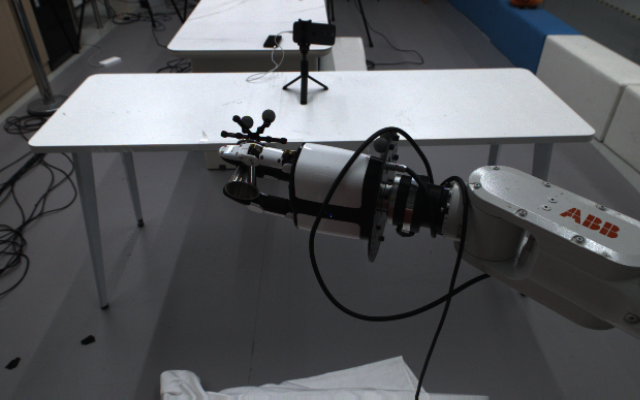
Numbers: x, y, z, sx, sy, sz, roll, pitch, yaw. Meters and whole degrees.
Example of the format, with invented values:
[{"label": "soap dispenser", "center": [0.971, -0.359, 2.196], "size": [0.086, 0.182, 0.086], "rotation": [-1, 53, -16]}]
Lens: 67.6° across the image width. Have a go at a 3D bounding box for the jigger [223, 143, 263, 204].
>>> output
[{"label": "jigger", "center": [-0.098, -0.041, 0.625], "size": [0.043, 0.043, 0.071], "rotation": [6, 61, 6]}]
